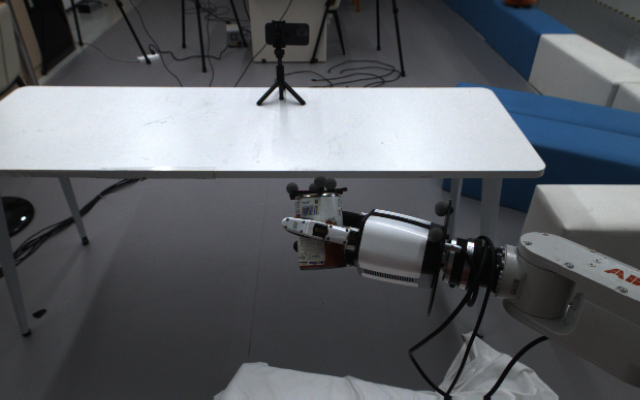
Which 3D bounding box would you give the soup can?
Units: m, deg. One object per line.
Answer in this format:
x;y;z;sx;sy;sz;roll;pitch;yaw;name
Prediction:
0.003;0.046;0.678;0.067;0.101;0.067;-5;-6;0;soup can
